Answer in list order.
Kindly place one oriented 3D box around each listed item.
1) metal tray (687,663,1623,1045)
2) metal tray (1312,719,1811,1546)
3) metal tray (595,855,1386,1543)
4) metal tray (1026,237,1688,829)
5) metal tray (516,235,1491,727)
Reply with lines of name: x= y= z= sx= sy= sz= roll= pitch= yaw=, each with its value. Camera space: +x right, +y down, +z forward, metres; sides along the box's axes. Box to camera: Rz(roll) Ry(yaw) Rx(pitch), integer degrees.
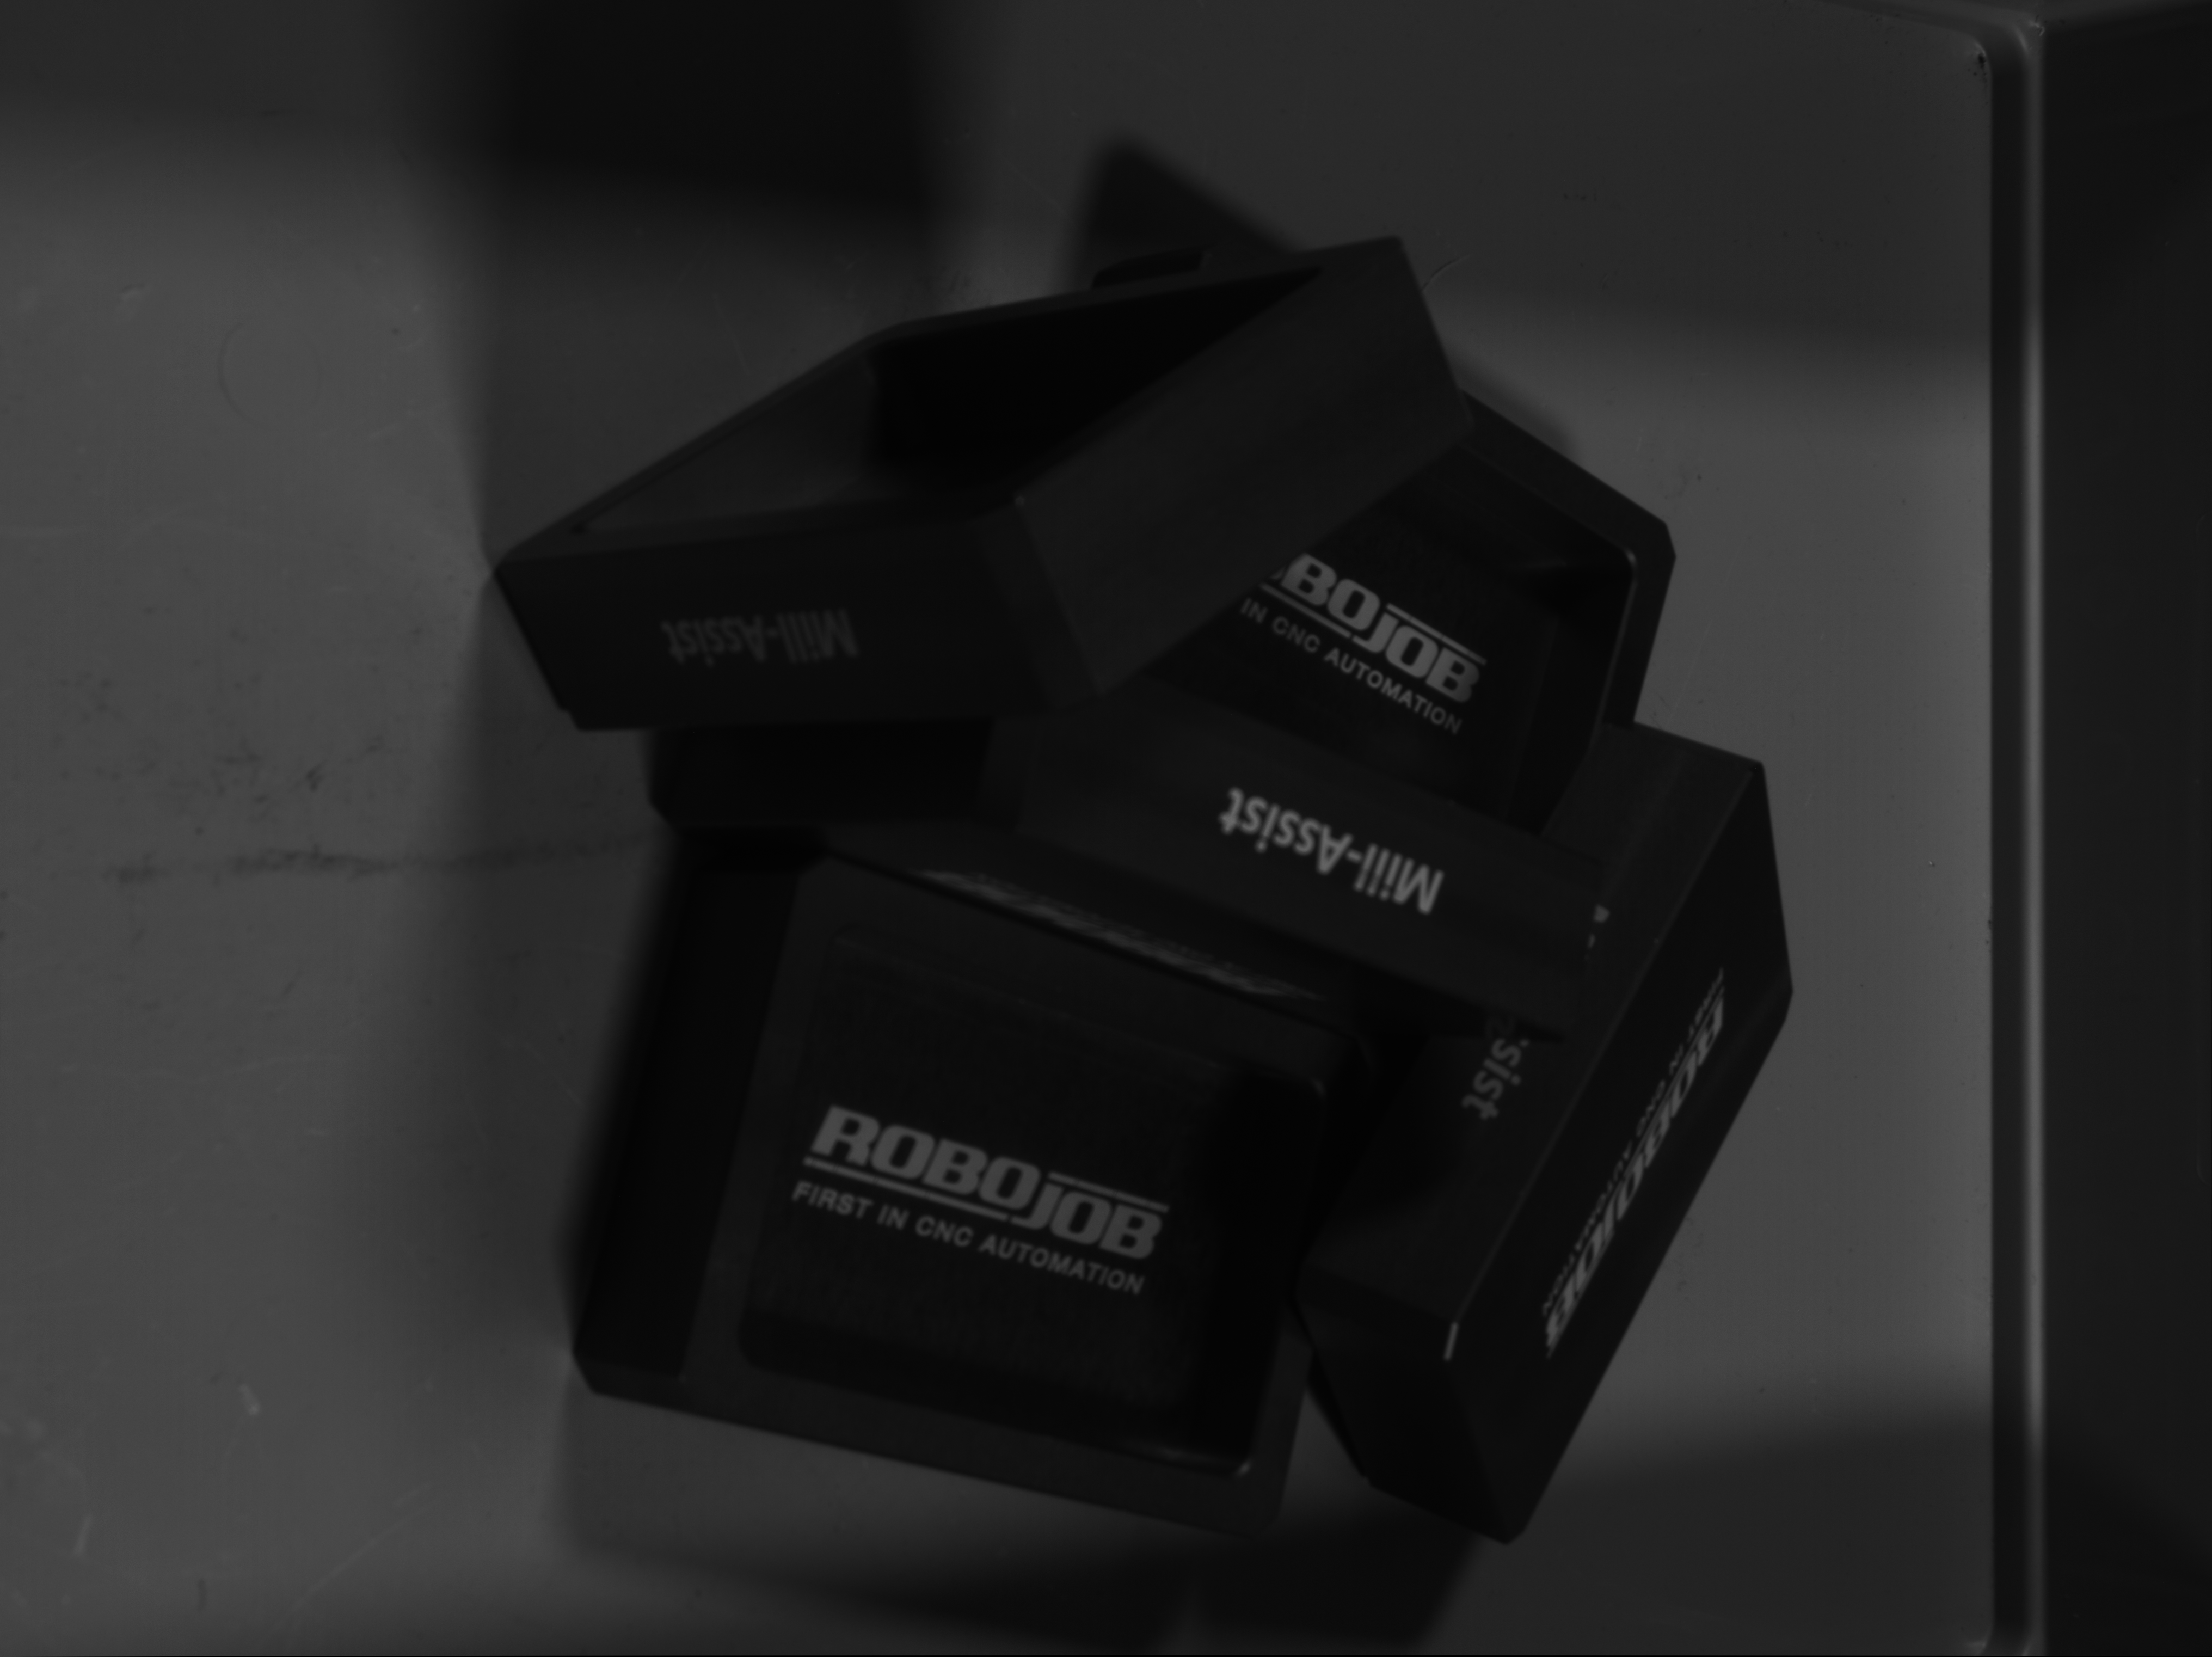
metal tray: x=0.009 y=0.004 z=0.600 sx=0.130 sy=0.090 sz=0.030 roll=20 pitch=77 yaw=-38
metal tray: x=0.088 y=0.056 z=0.680 sx=0.130 sy=0.030 sz=0.090 roll=-58 pitch=151 yaw=-23
metal tray: x=-0.016 y=0.064 z=0.618 sx=0.130 sy=0.030 sz=0.090 roll=21 pitch=77 yaw=-38
metal tray: x=0.046 y=-0.039 z=0.670 sx=0.130 sy=0.030 sz=0.090 roll=27 pitch=73 yaw=-37
metal tray: x=-0.018 y=-0.051 z=0.552 sx=0.090 sy=0.130 sz=0.030 roll=-37 pitch=113 yaw=-33
